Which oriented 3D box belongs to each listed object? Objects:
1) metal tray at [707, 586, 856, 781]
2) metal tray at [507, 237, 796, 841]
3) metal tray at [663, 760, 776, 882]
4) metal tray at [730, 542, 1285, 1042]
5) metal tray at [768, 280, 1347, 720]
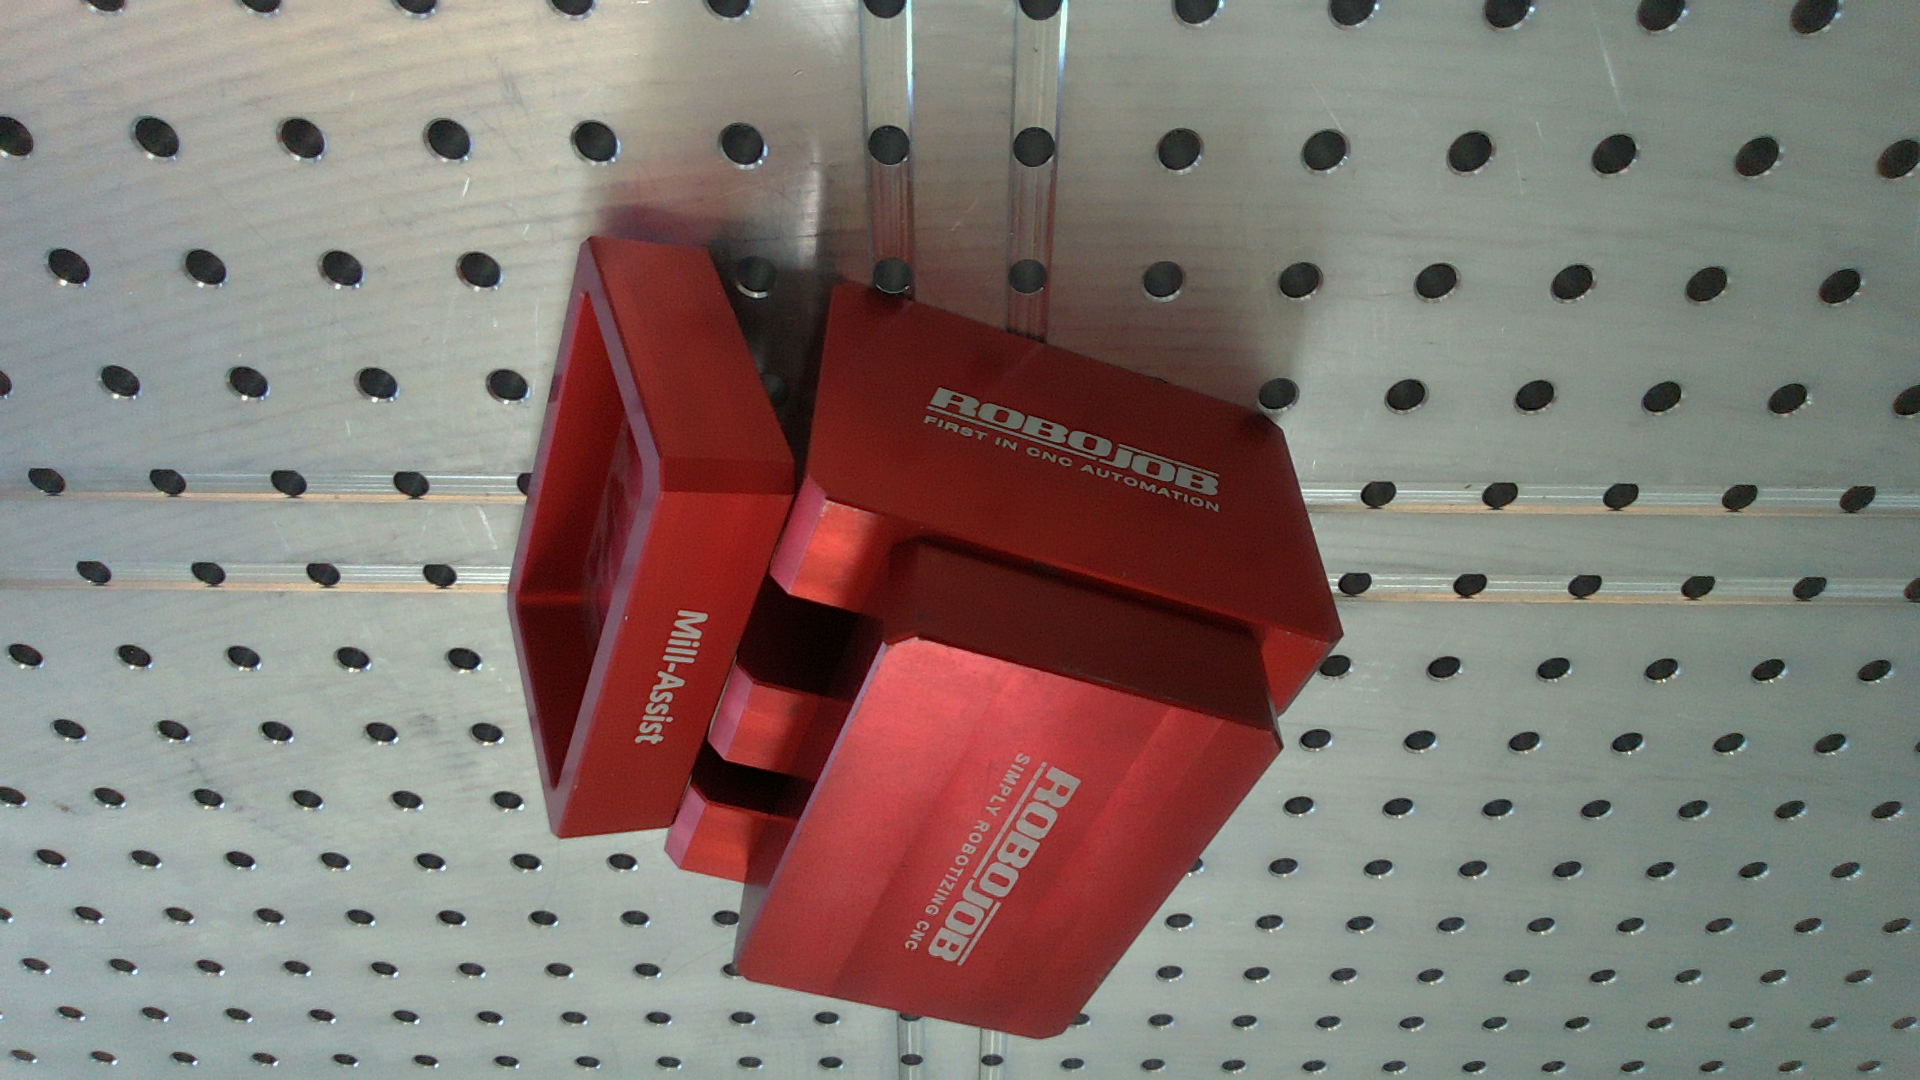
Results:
[{"bbox_3d":[0.003,0.032,0.376,0.130,0.090,0.030,15,128,-14],"label":"metal tray"},{"bbox_3d":[-0.084,0.002,0.349,0.030,0.090,0.130,1,134,-30],"label":"metal tray"},{"bbox_3d":[-0.014,0.065,0.405,0.130,0.090,0.030,16,129,-14],"label":"metal tray"},{"bbox_3d":[0.006,0.067,0.328,0.090,0.030,0.130,16,128,-13],"label":"metal tray"},{"bbox_3d":[0.024,-0.011,0.340,0.130,0.090,0.030,16,129,-13],"label":"metal tray"}]
